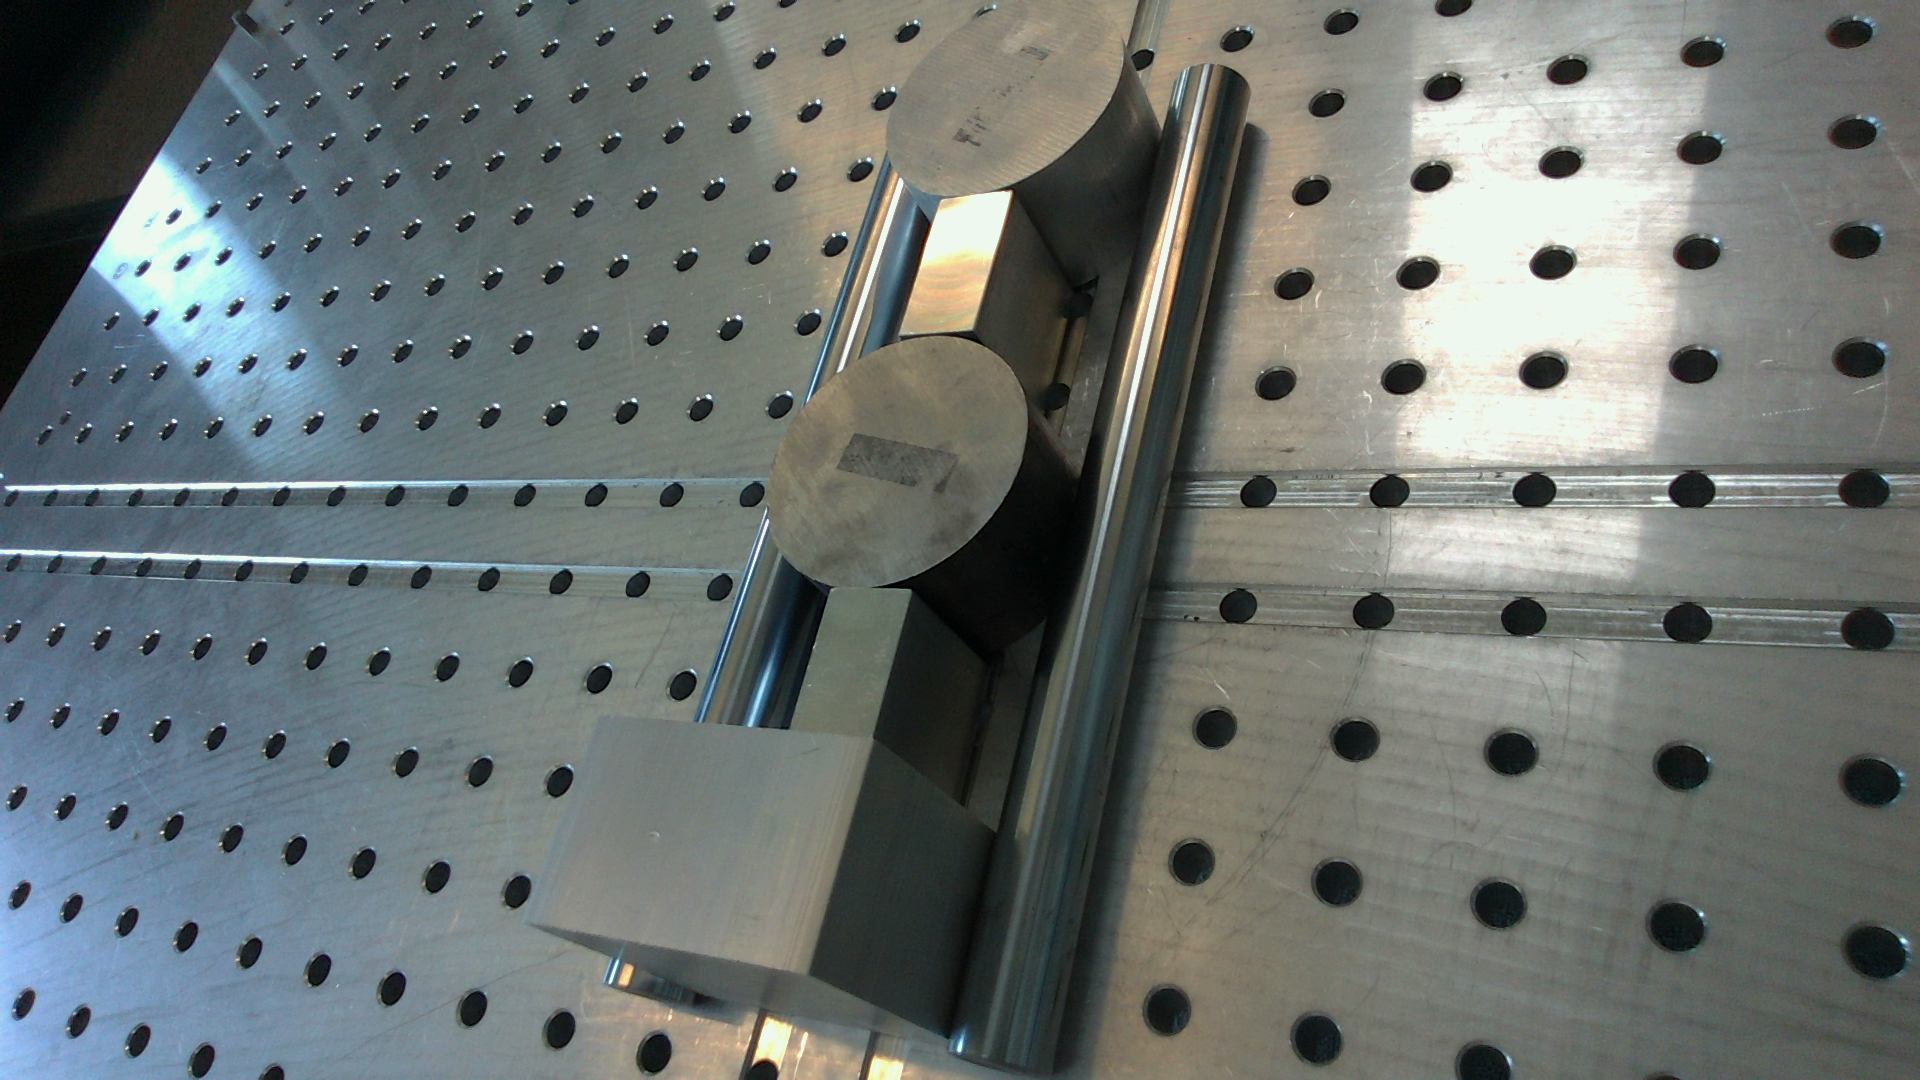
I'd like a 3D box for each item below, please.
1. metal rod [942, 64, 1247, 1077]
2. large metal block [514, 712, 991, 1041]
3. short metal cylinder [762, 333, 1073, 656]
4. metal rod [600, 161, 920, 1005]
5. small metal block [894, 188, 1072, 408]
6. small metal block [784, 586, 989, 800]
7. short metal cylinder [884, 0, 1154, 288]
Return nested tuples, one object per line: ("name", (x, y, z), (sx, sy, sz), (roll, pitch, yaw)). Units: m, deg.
("metal rod", (0.044, -0.011, 0.379), (0.025, 0.025, 0.300), (1, 62, 29))
("large metal block", (-0.043, 0.083, 0.333), (0.080, 0.080, 0.050), (1, 62, 29))
("short metal cylinder", (-0.009, -0.012, 0.392), (0.080, 0.050, 0.080), (-13, 56, 21))
("metal rod", (-0.048, -0.011, 0.428), (0.025, 0.025, 0.300), (1, 62, 29))
("small metal block", (0.009, -0.069, 0.417), (0.025, 0.050, 0.050), (1, 62, 29))
("small metal block", (-0.019, 0.046, 0.361), (0.025, 0.050, 0.050), (0, 62, 29))
("short metal cylinder", (0.023, -0.126, 0.446), (0.080, 0.050, 0.080), (-13, 56, 21))
